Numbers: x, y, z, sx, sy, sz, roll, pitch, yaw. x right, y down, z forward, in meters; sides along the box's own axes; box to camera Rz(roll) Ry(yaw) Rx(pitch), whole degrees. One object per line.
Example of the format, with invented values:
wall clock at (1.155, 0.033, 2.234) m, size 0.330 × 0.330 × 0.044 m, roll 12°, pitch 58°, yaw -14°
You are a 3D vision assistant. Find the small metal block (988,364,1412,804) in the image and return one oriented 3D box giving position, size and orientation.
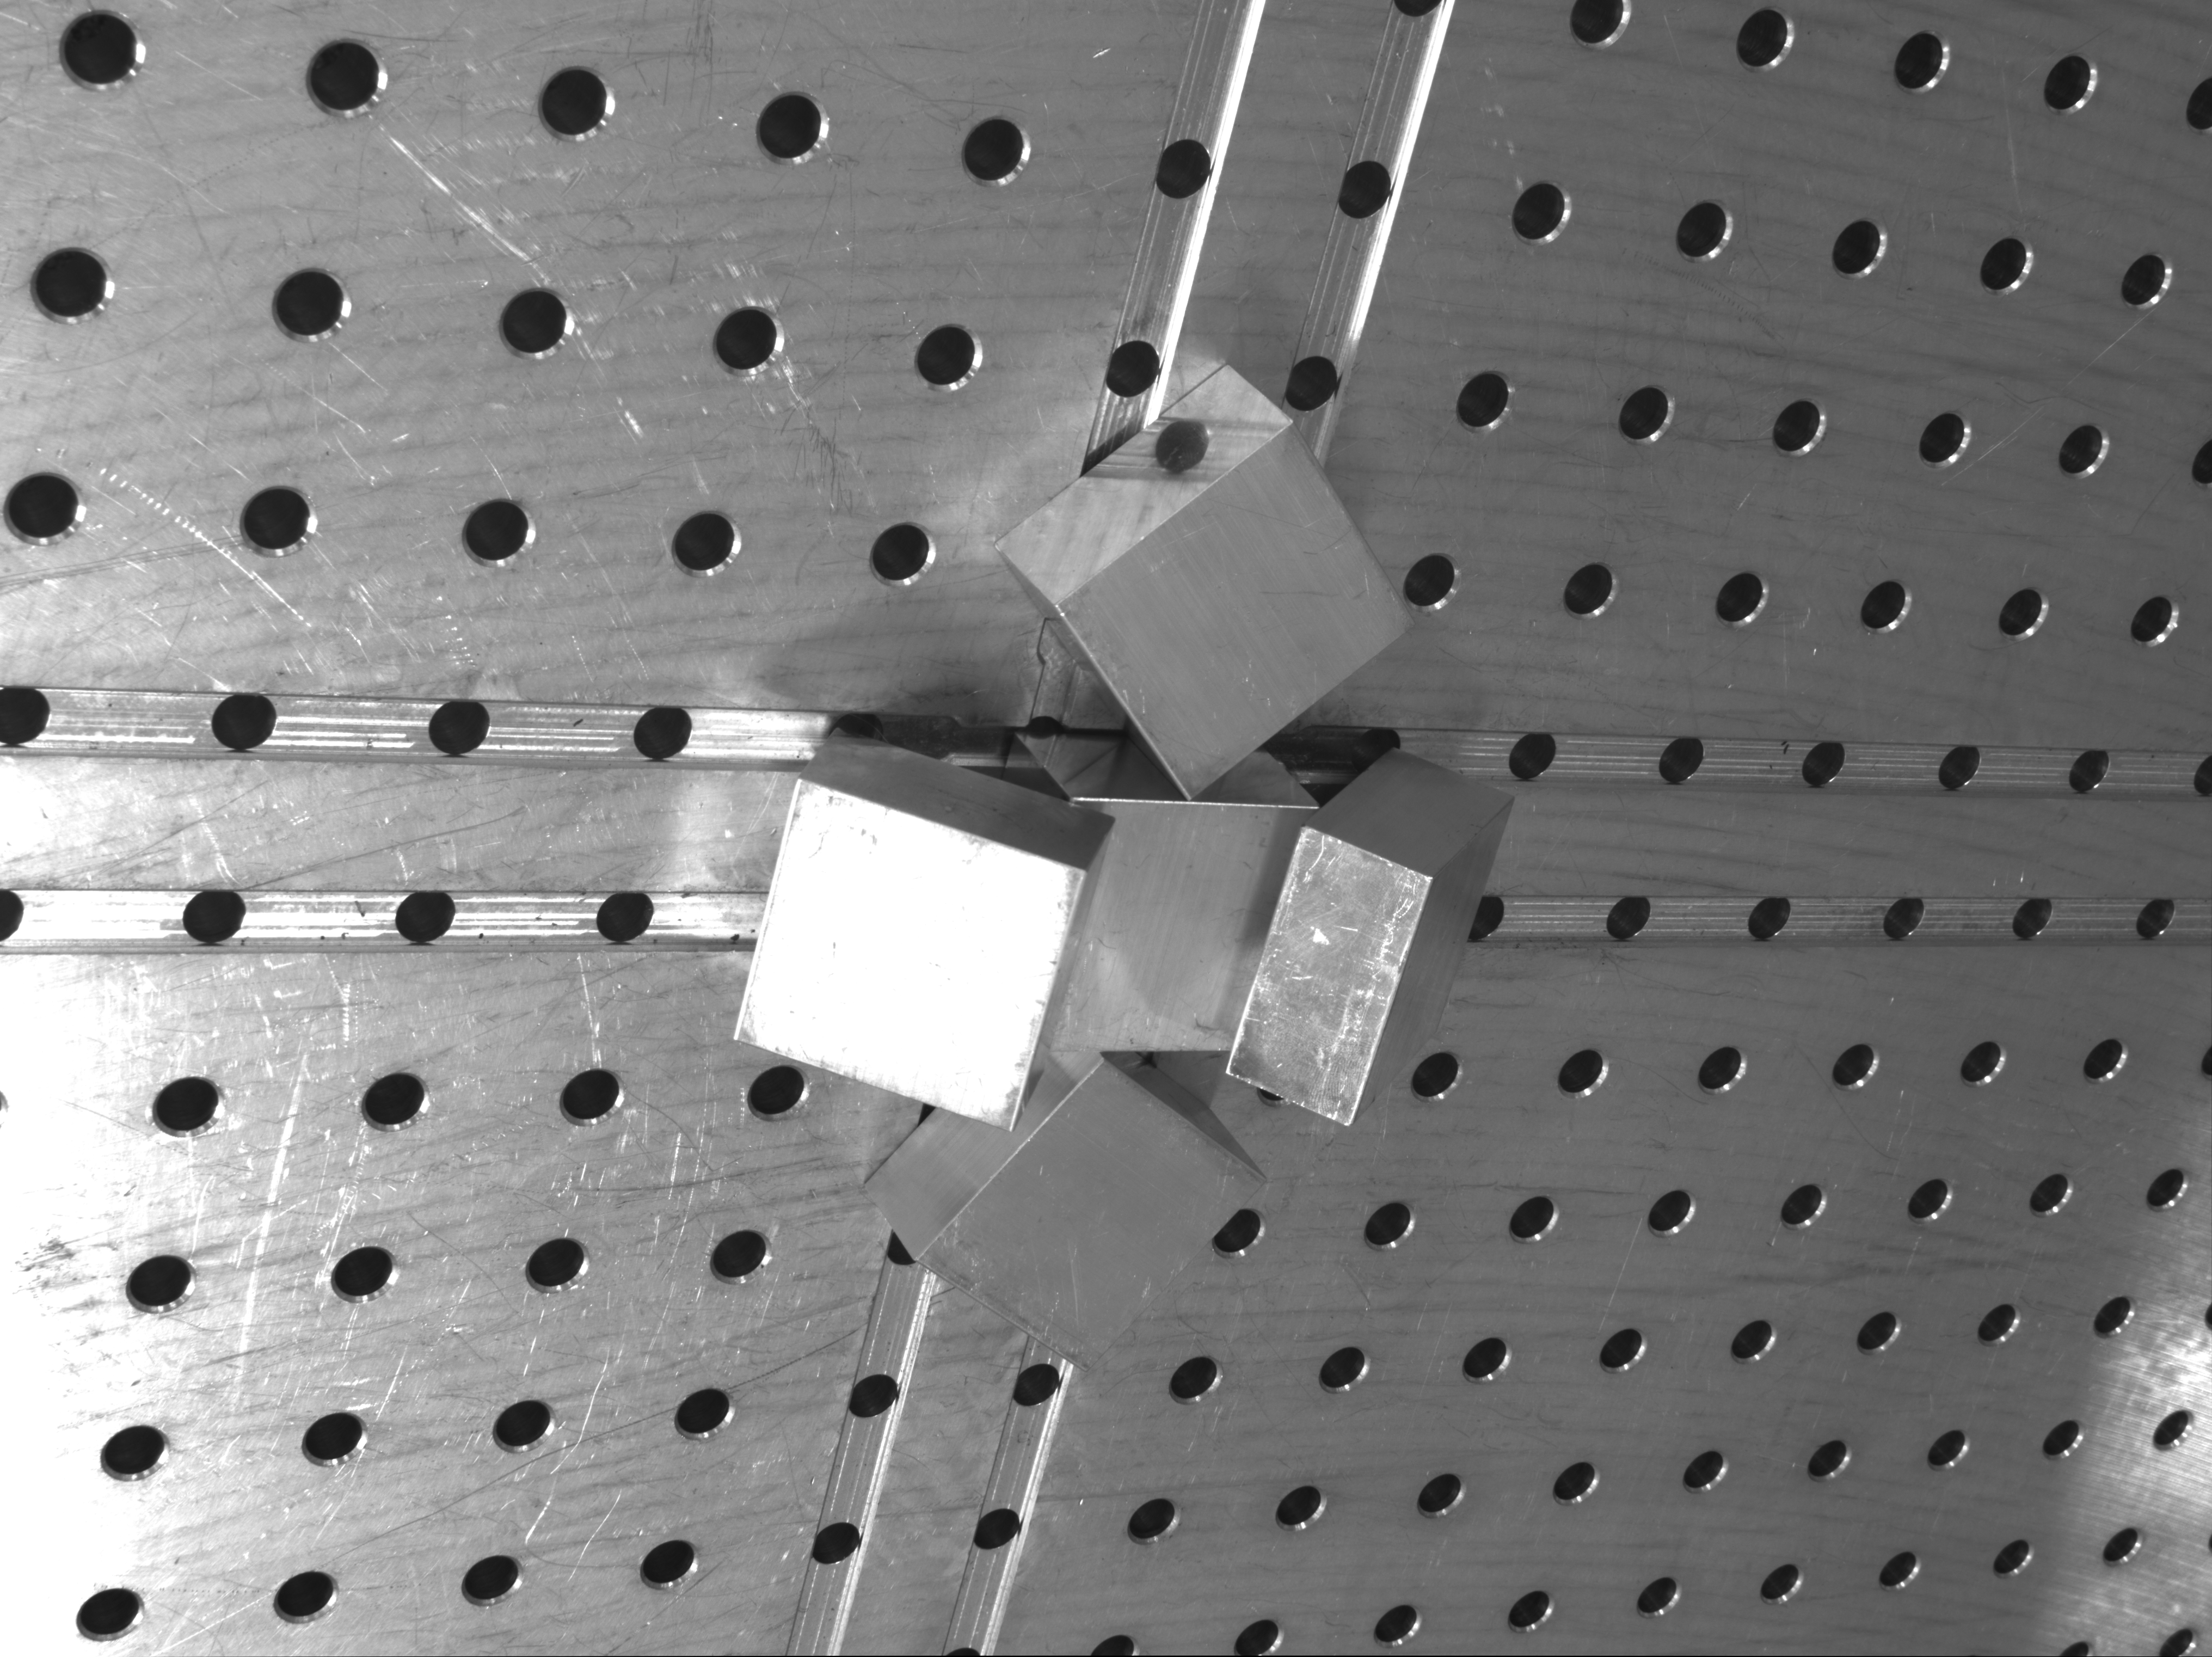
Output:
small metal block at (0.016, -0.041, 0.625) m, size 0.050 × 0.025 × 0.050 m, roll -38°, pitch 128°, yaw -3°

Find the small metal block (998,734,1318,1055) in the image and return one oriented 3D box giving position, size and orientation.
small metal block at (0.004, 0.012, 0.649) m, size 0.050 × 0.025 × 0.050 m, roll 1°, pitch 117°, yaw -29°

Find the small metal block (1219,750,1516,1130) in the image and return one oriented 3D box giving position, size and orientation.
small metal block at (0.047, 0.019, 0.660) m, size 0.050 × 0.025 × 0.050 m, roll -35°, pitch 145°, yaw -61°

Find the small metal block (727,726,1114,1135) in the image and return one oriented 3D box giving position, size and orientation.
small metal block at (-0.031, 0.017, 0.618) m, size 0.050 × 0.025 × 0.050 m, roll 18°, pitch 114°, yaw 4°

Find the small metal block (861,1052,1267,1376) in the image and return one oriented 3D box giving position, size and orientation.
small metal block at (-0.008, 0.065, 0.675) m, size 0.050 × 0.025 × 0.050 m, roll -47°, pitch 127°, yaw 5°
